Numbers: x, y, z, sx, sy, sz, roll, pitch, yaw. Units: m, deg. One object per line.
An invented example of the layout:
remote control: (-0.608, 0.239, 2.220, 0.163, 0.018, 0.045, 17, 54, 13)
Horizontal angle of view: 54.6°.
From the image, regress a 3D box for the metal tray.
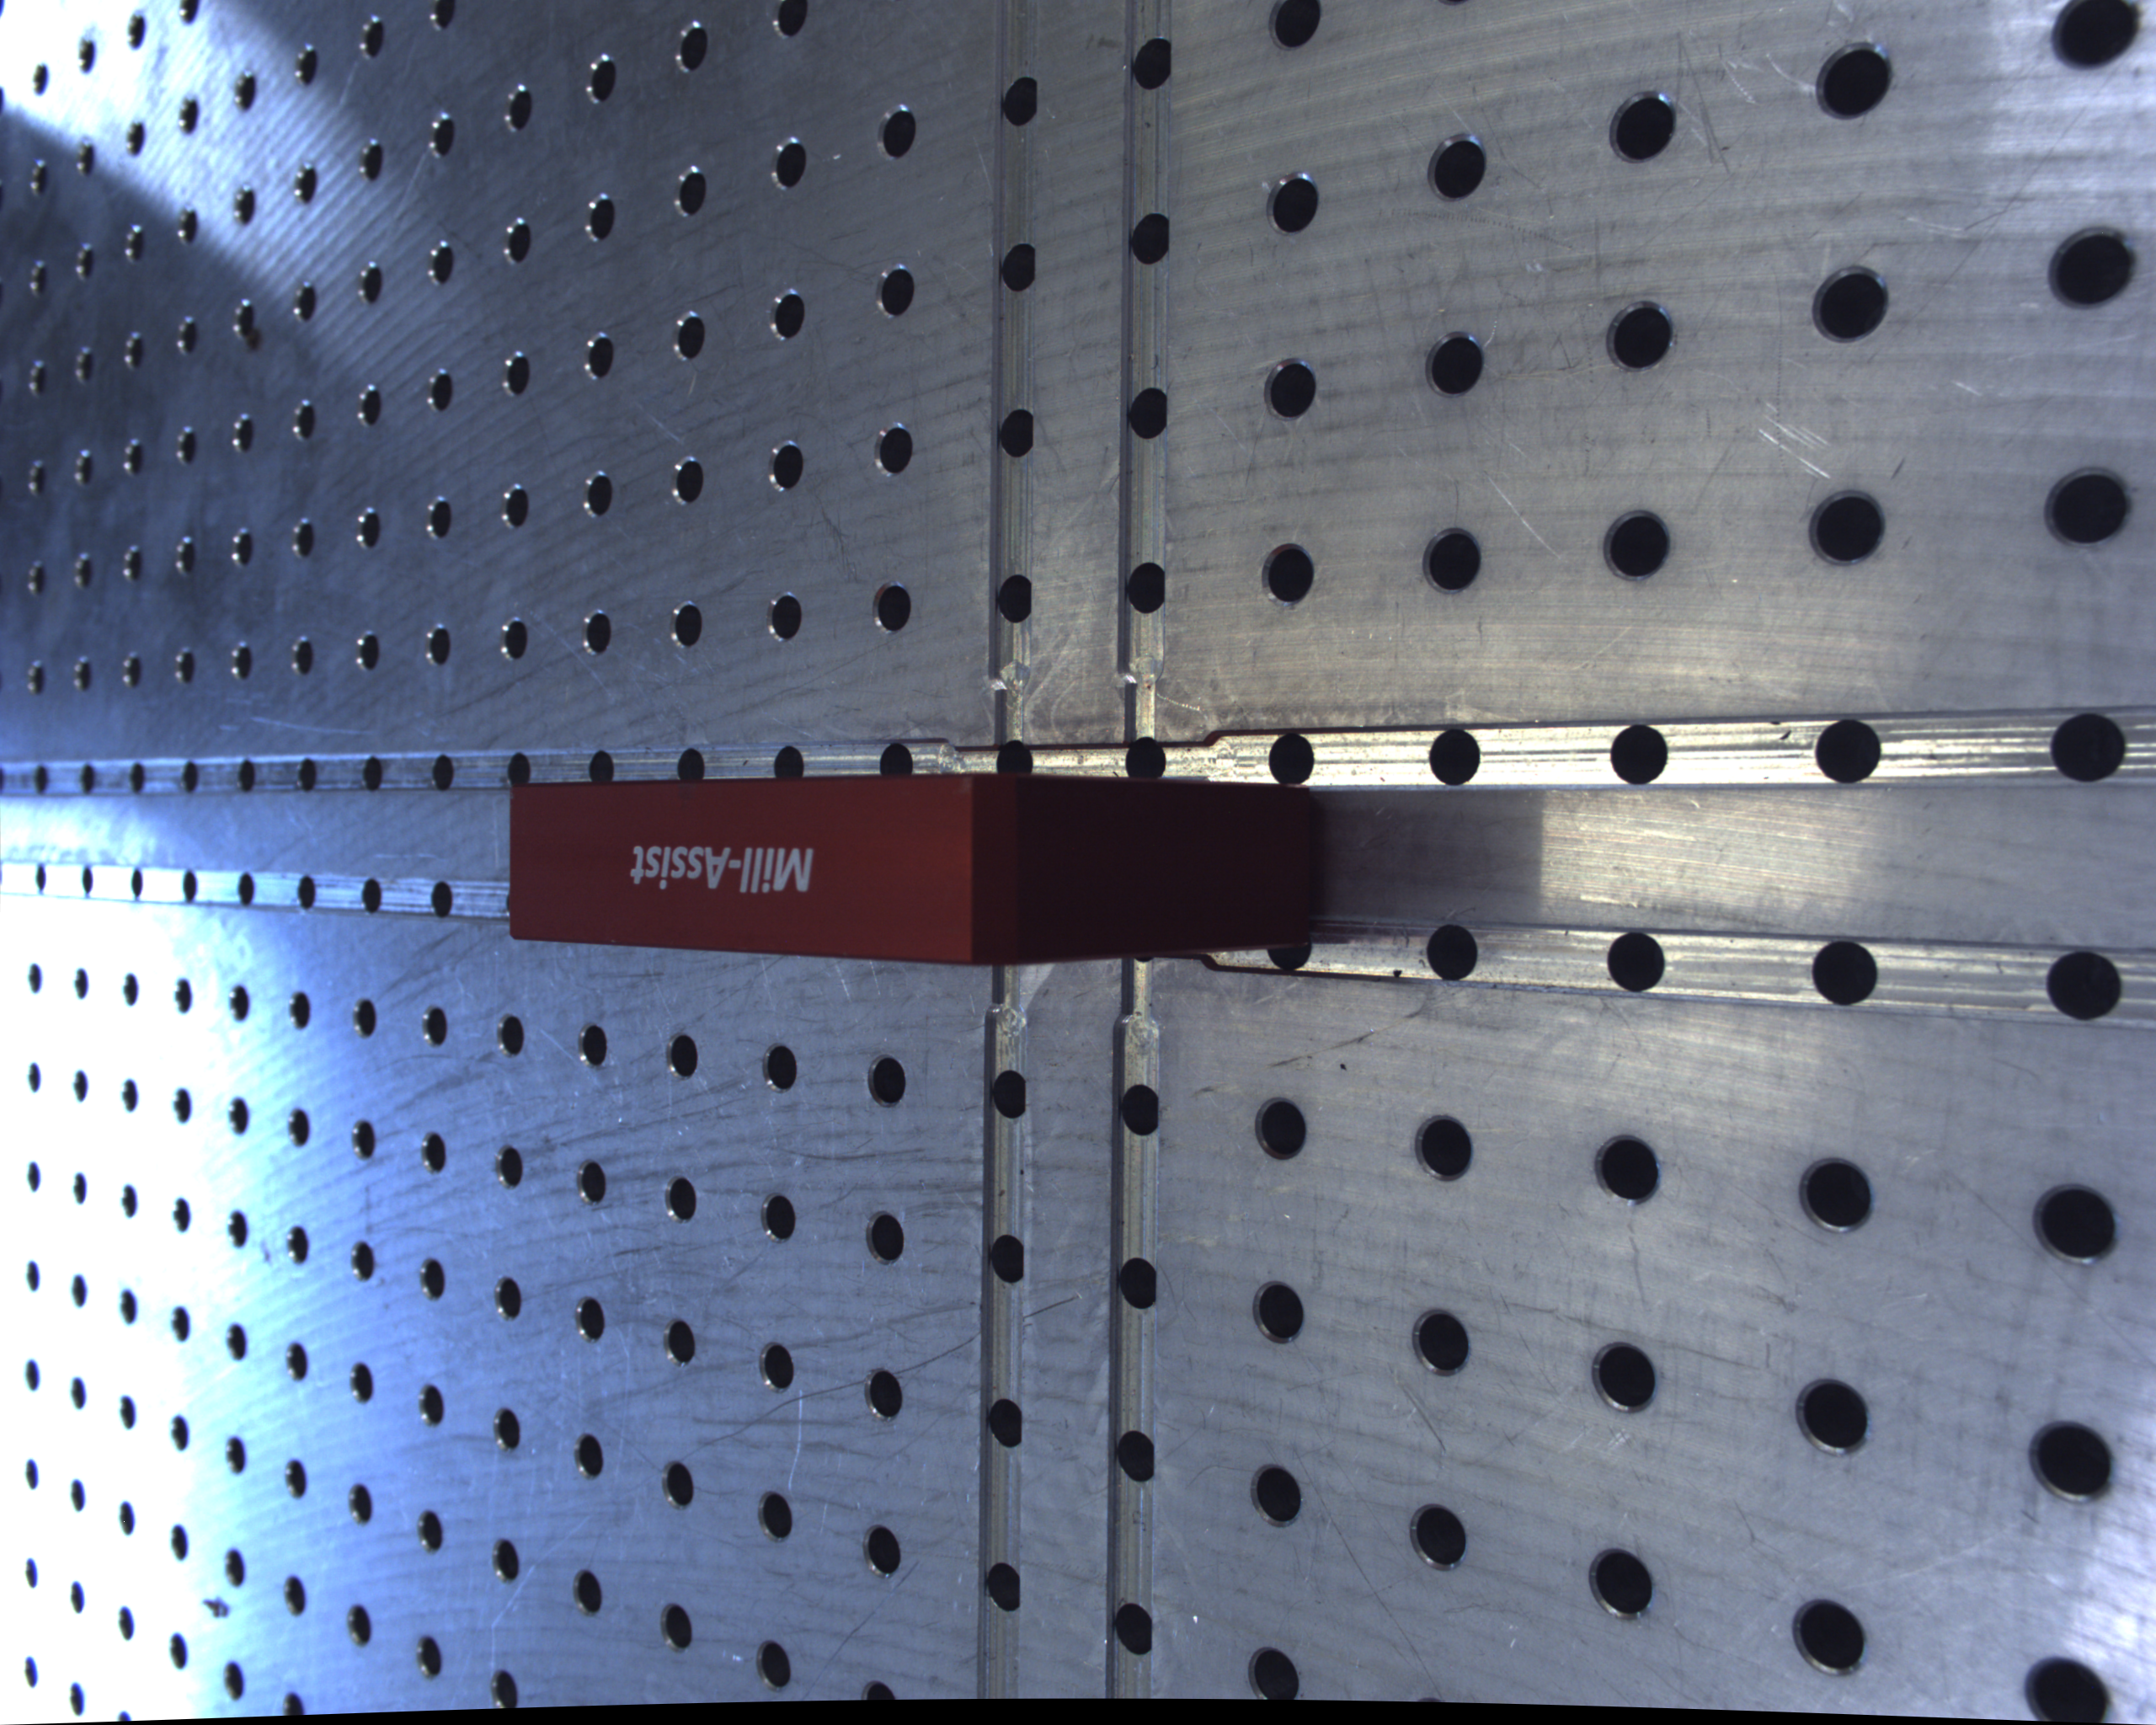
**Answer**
metal tray: (-0.033, 0.000, 0.395, 0.130, 0.091, 0.030, 1, 91, 40)
